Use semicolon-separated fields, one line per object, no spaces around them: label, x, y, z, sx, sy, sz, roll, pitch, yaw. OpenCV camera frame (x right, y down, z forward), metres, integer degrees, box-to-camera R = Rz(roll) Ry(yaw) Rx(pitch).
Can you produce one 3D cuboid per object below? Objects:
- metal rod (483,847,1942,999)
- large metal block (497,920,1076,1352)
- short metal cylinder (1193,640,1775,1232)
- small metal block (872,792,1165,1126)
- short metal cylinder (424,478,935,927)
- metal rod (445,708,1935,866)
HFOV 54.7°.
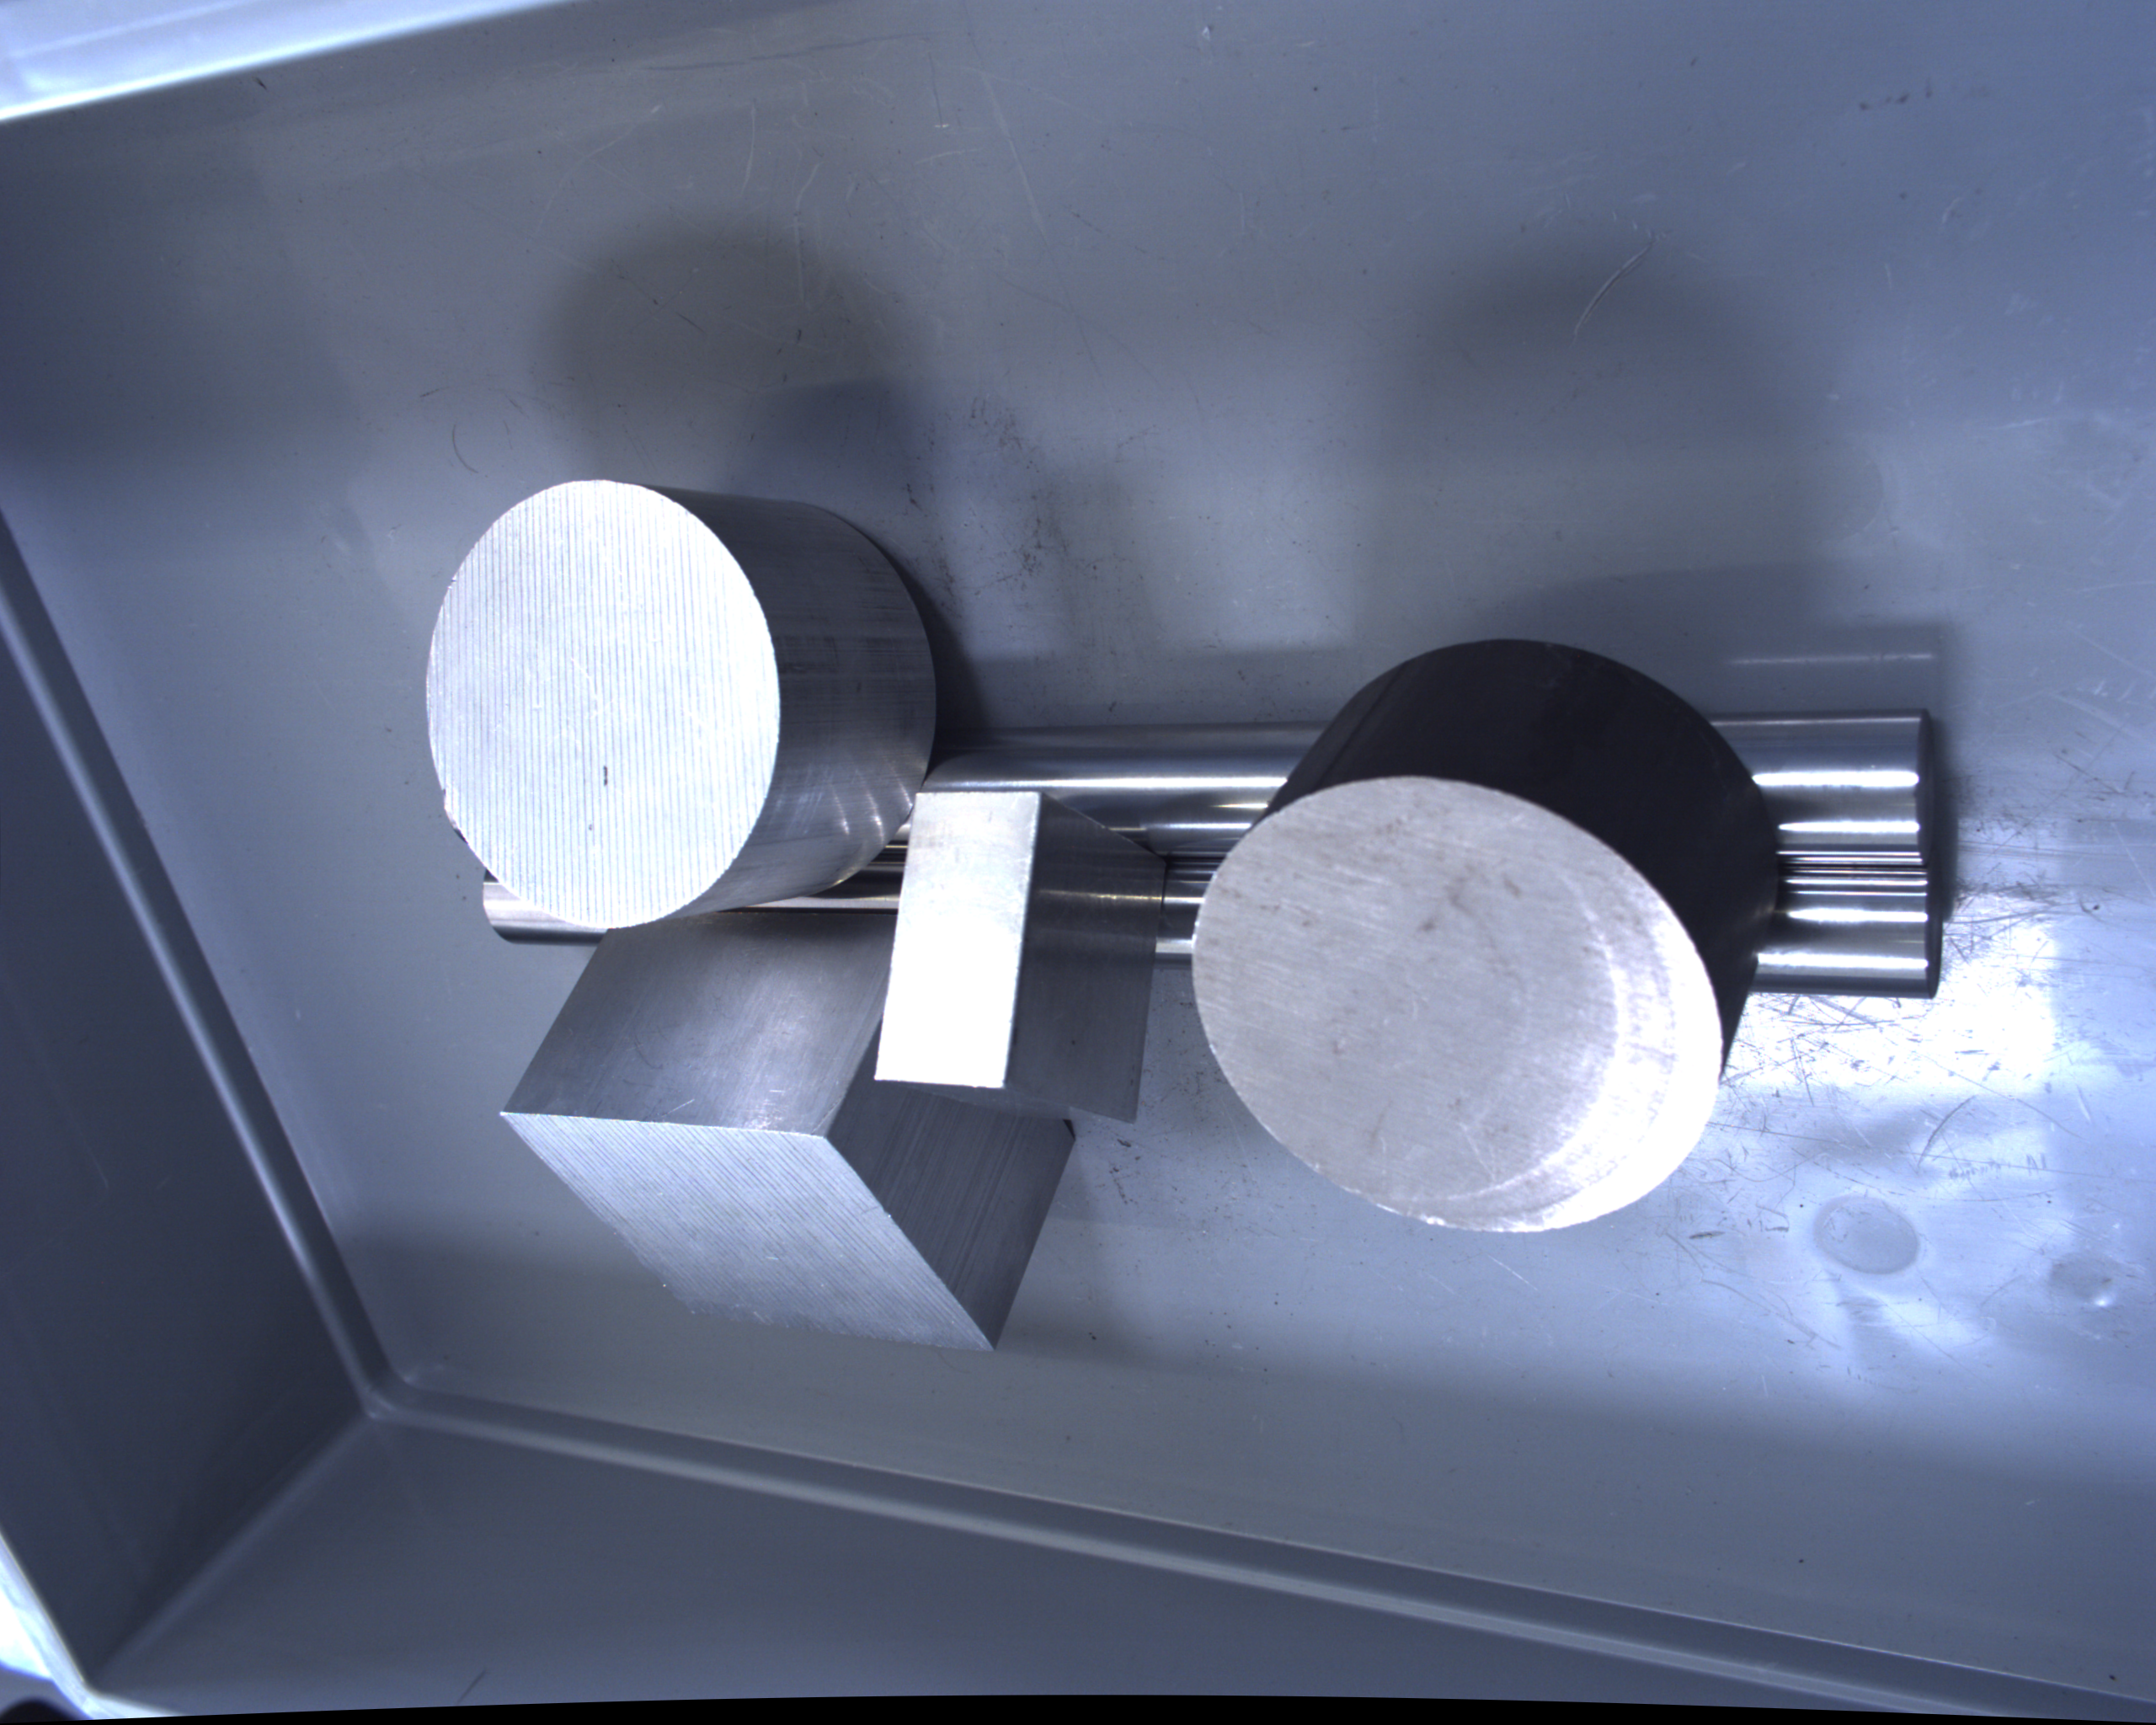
metal rod;0.006;0.008;0.409;0.300;0.025;0.025;1;119;27
large metal block;-0.058;0.057;0.439;0.080;0.050;0.080;-1;138;28
short metal cylinder;0.065;0.011;0.331;0.080;0.050;0.079;13;124;21
small metal block;-0.009;0.018;0.370;0.025;0.050;0.050;1;77;28
short metal cylinder;-0.074;-0.030;0.393;0.080;0.050;0.079;3;96;27
metal rod;0.000;-0.014;0.398;0.300;0.025;0.025;1;119;27
